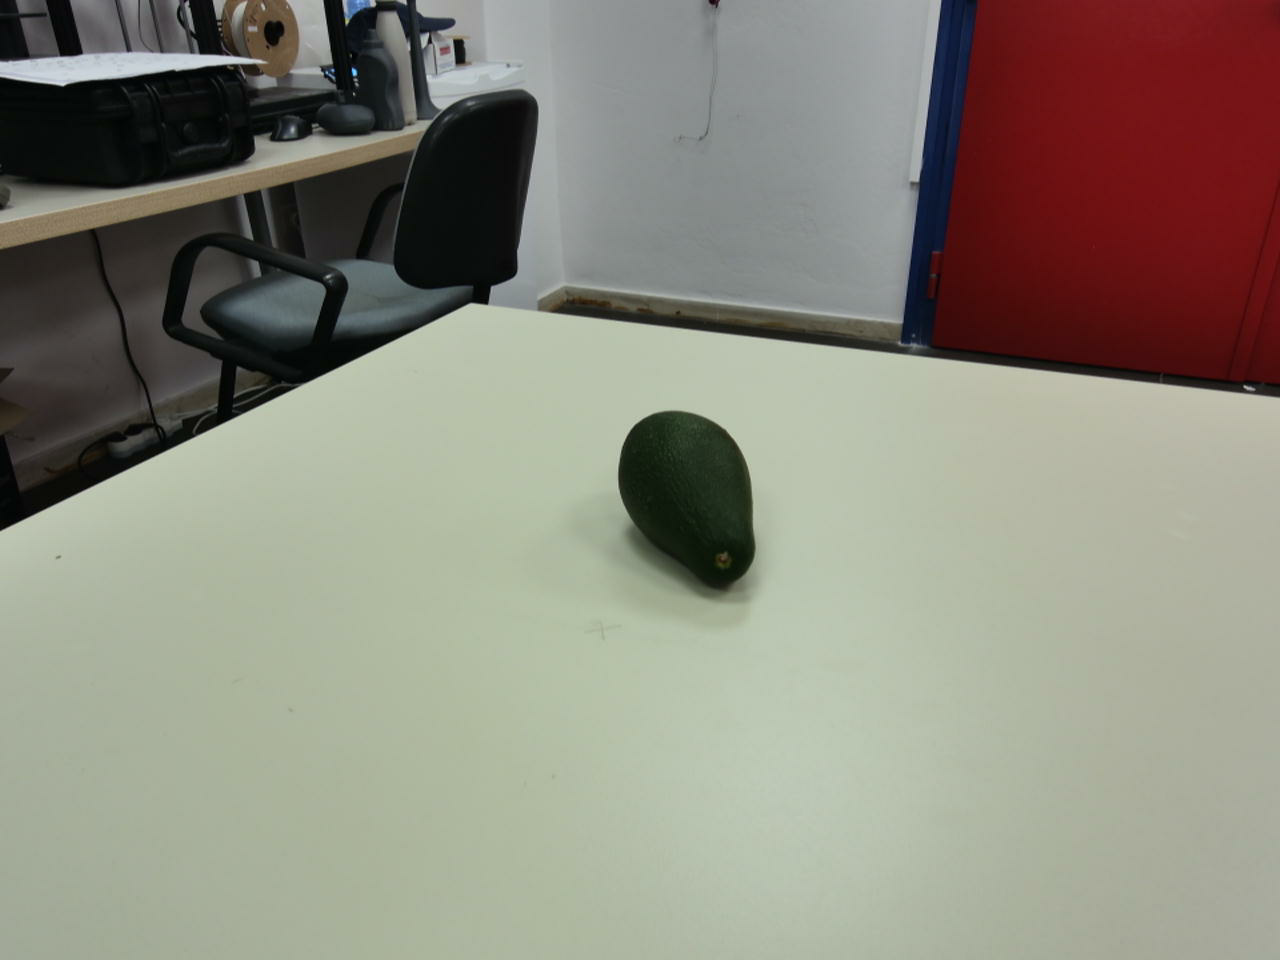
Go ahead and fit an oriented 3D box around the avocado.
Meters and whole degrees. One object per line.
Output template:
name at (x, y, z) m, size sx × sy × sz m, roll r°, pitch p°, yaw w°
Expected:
avocado at (0.023, 0.006, 0.527) m, size 0.072 × 0.071 × 0.109 m, roll 1°, pitch 25°, yaw 2°
